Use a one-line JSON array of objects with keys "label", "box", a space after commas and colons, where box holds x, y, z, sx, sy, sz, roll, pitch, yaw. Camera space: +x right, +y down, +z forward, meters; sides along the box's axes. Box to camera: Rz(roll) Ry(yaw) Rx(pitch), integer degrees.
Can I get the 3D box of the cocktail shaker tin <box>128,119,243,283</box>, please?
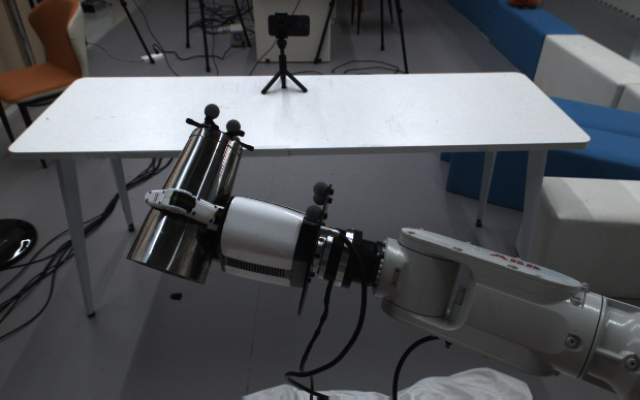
[{"label": "cocktail shaker tin", "box": [-0.153, 0.005, 0.575, 0.093, 0.093, 0.170, 14, 74, 17]}]
